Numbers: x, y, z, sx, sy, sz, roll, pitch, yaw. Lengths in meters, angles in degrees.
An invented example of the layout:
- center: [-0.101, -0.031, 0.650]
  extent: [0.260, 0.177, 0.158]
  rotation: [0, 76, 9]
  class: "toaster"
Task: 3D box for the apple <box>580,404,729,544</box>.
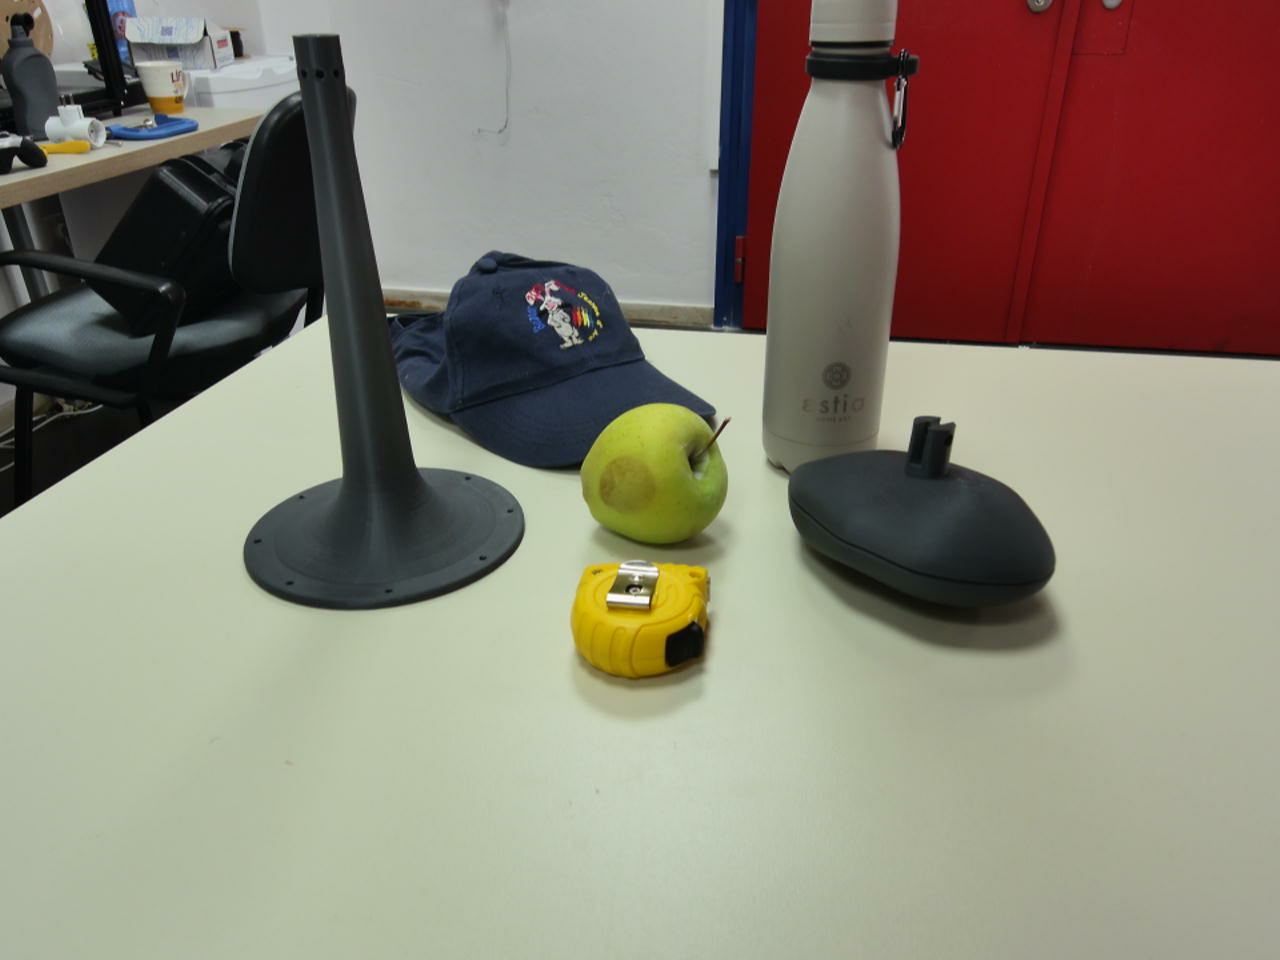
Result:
- center: [0.009, -0.005, 0.538]
  extent: [0.072, 0.075, 0.077]
  rotation: [-16, 30, -30]
  class: "apple"
